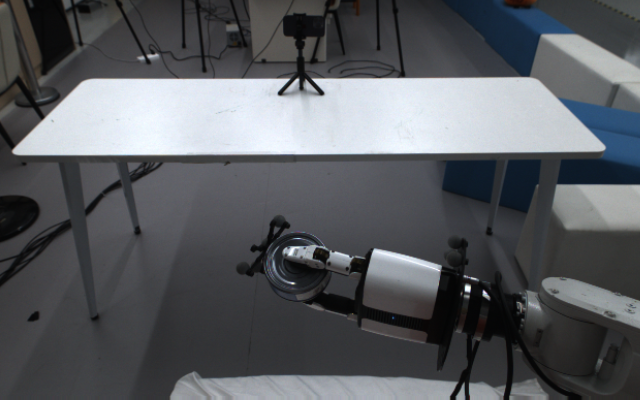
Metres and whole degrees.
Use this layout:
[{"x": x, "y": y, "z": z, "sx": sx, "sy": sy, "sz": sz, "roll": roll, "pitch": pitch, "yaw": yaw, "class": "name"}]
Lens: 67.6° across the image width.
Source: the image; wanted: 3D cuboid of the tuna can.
[{"x": -0.024, "y": 0.088, "z": 0.615, "sx": 0.085, "sy": 0.034, "sz": 0.085, "roll": -1, "pitch": 61, "yaw": 1, "class": "tuna can"}]
